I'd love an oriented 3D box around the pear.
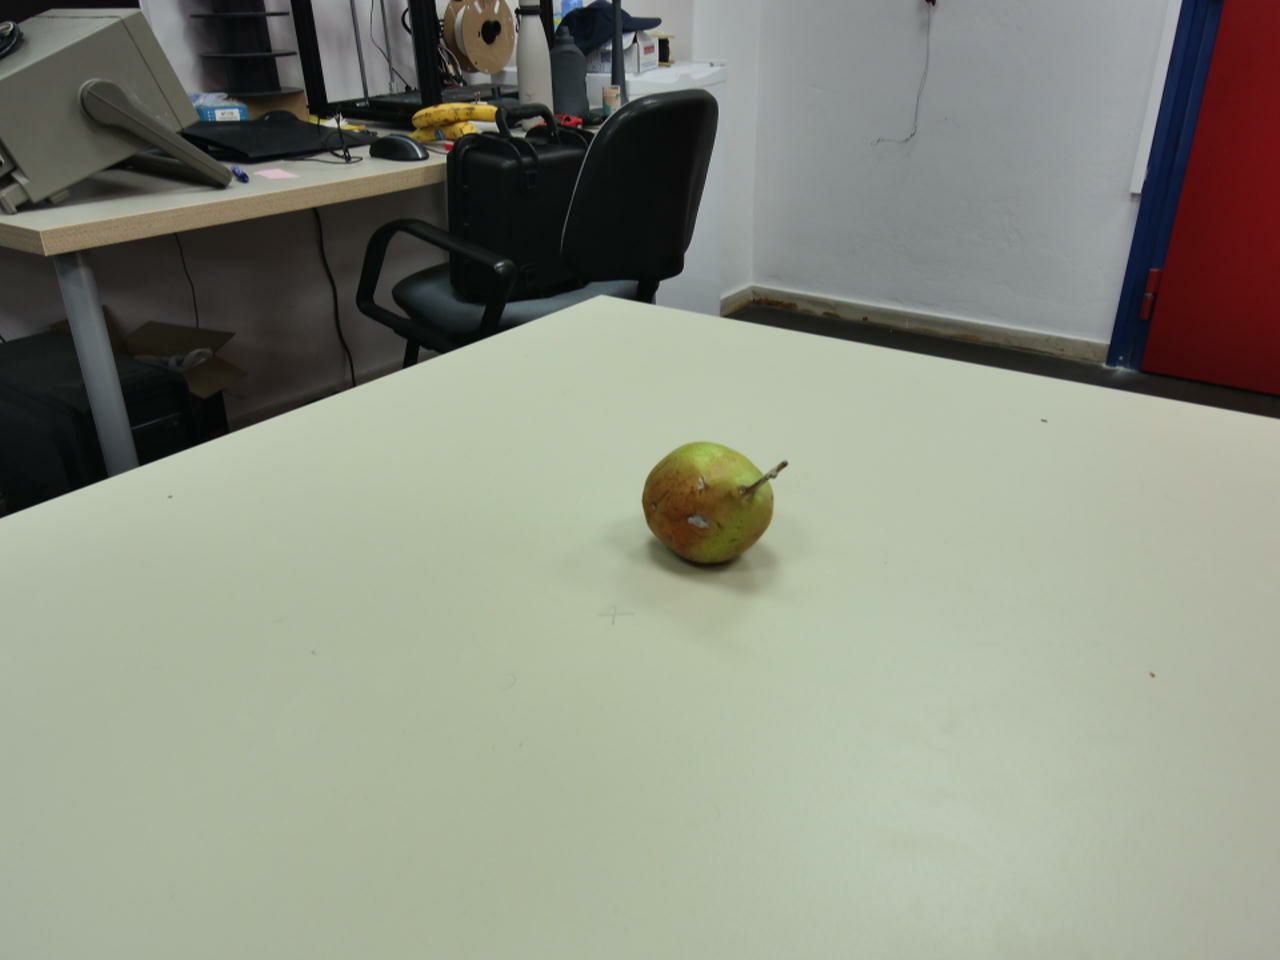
[{"bbox_3d":[0.035,0.010,0.524,0.068,0.069,0.070,-2,24,-2],"label":"pear"}]
